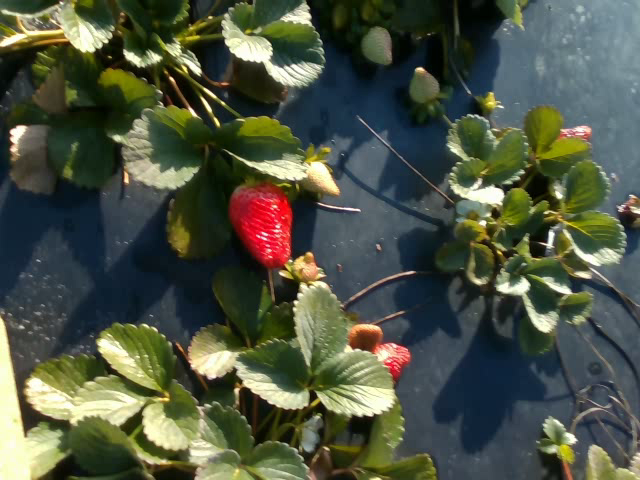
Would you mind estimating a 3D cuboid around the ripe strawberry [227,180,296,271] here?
[{"bbox_3d":[-0.038,-0.009,0.552,0.056,0.072,0.055,-33,-21,20],"label":"ripe strawberry"}]
